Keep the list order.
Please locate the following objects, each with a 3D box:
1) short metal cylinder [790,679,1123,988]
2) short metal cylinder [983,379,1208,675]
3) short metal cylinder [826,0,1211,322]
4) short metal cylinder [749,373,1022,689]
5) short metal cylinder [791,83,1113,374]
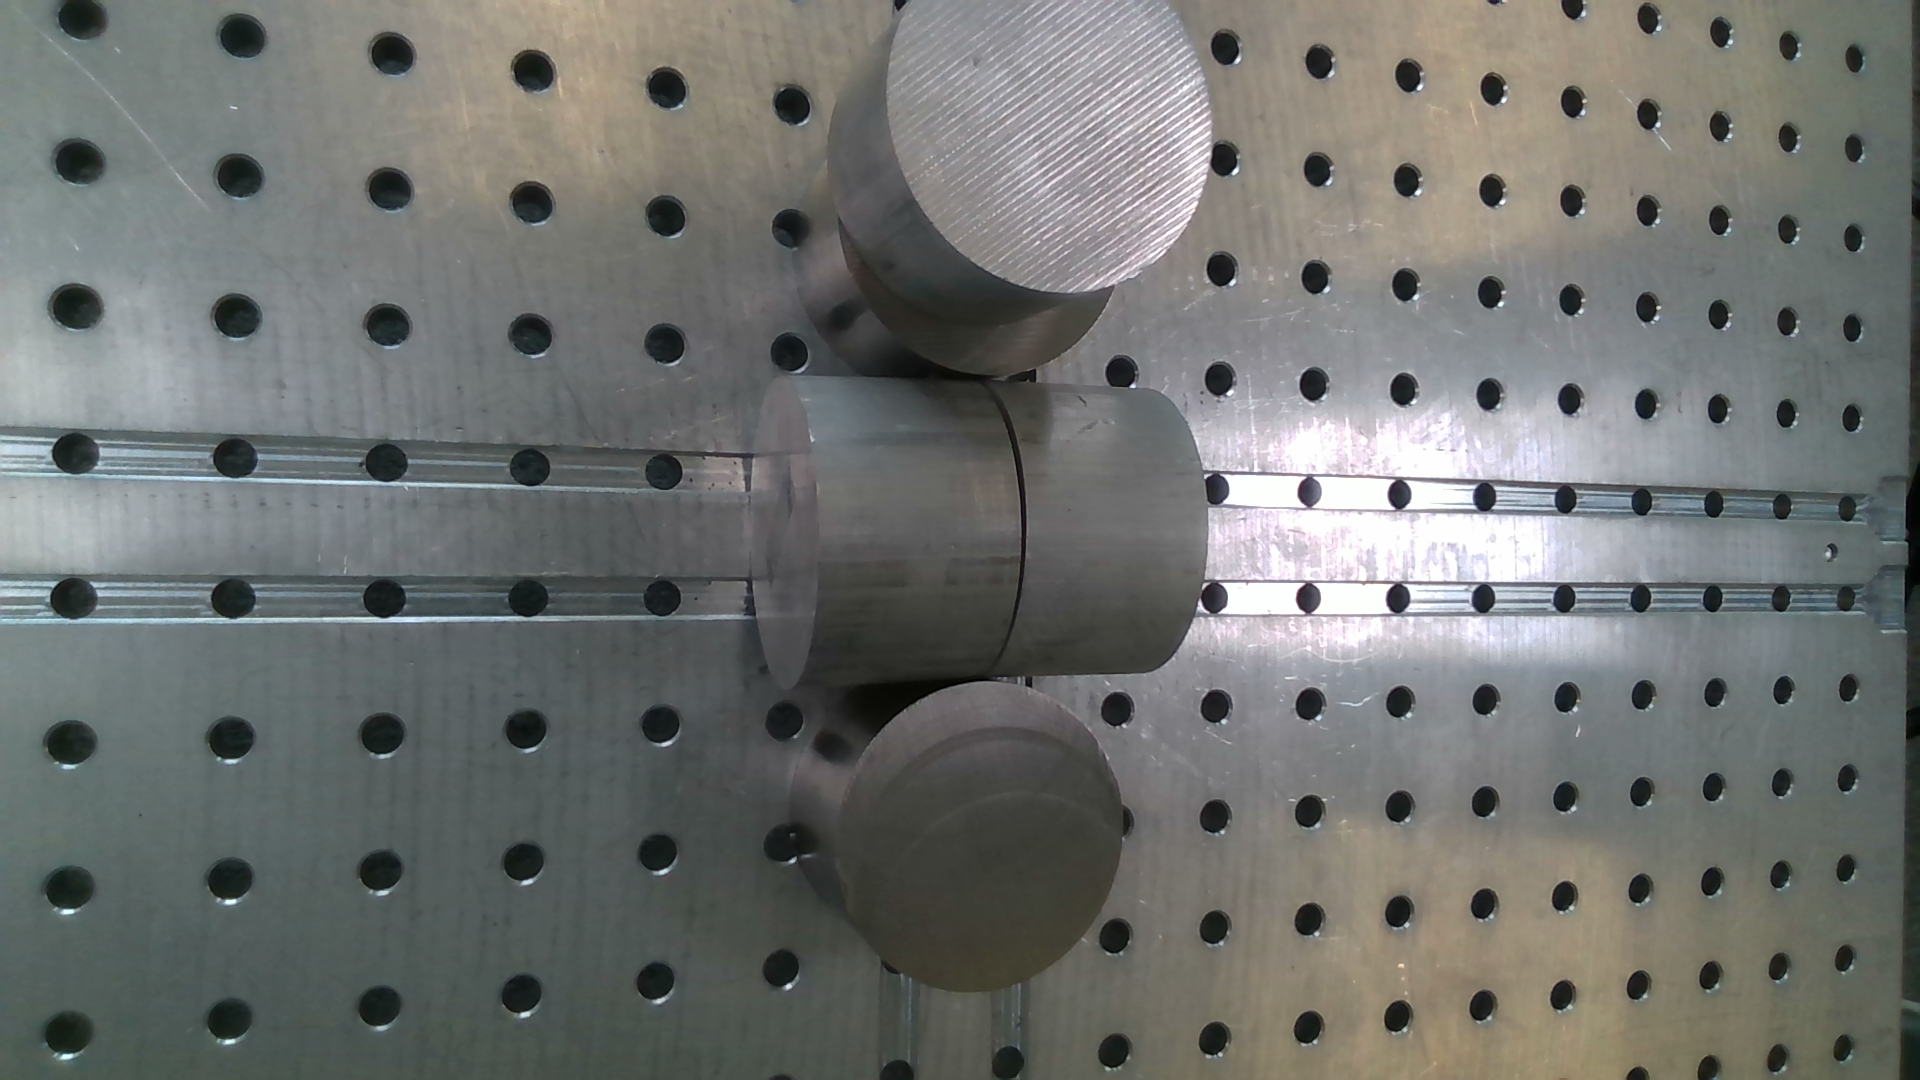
[{"bbox_3d":[-0.002,0.076,0.382,0.080,0.050,0.080,0,90,-20],"label":"short metal cylinder"},{"bbox_3d":[0.026,-0.003,0.377,0.050,0.080,0.080,1,90,-19],"label":"short metal cylinder"},{"bbox_3d":[0.013,-0.096,0.333,0.080,0.050,0.080,0,90,-20],"label":"short metal cylinder"},{"bbox_3d":[-0.022,-0.003,0.359,0.050,0.080,0.080,-1,90,-20],"label":"short metal cylinder"},{"bbox_3d":[-0.002,-0.084,0.382,0.080,0.050,0.080,0,90,-20],"label":"short metal cylinder"}]
